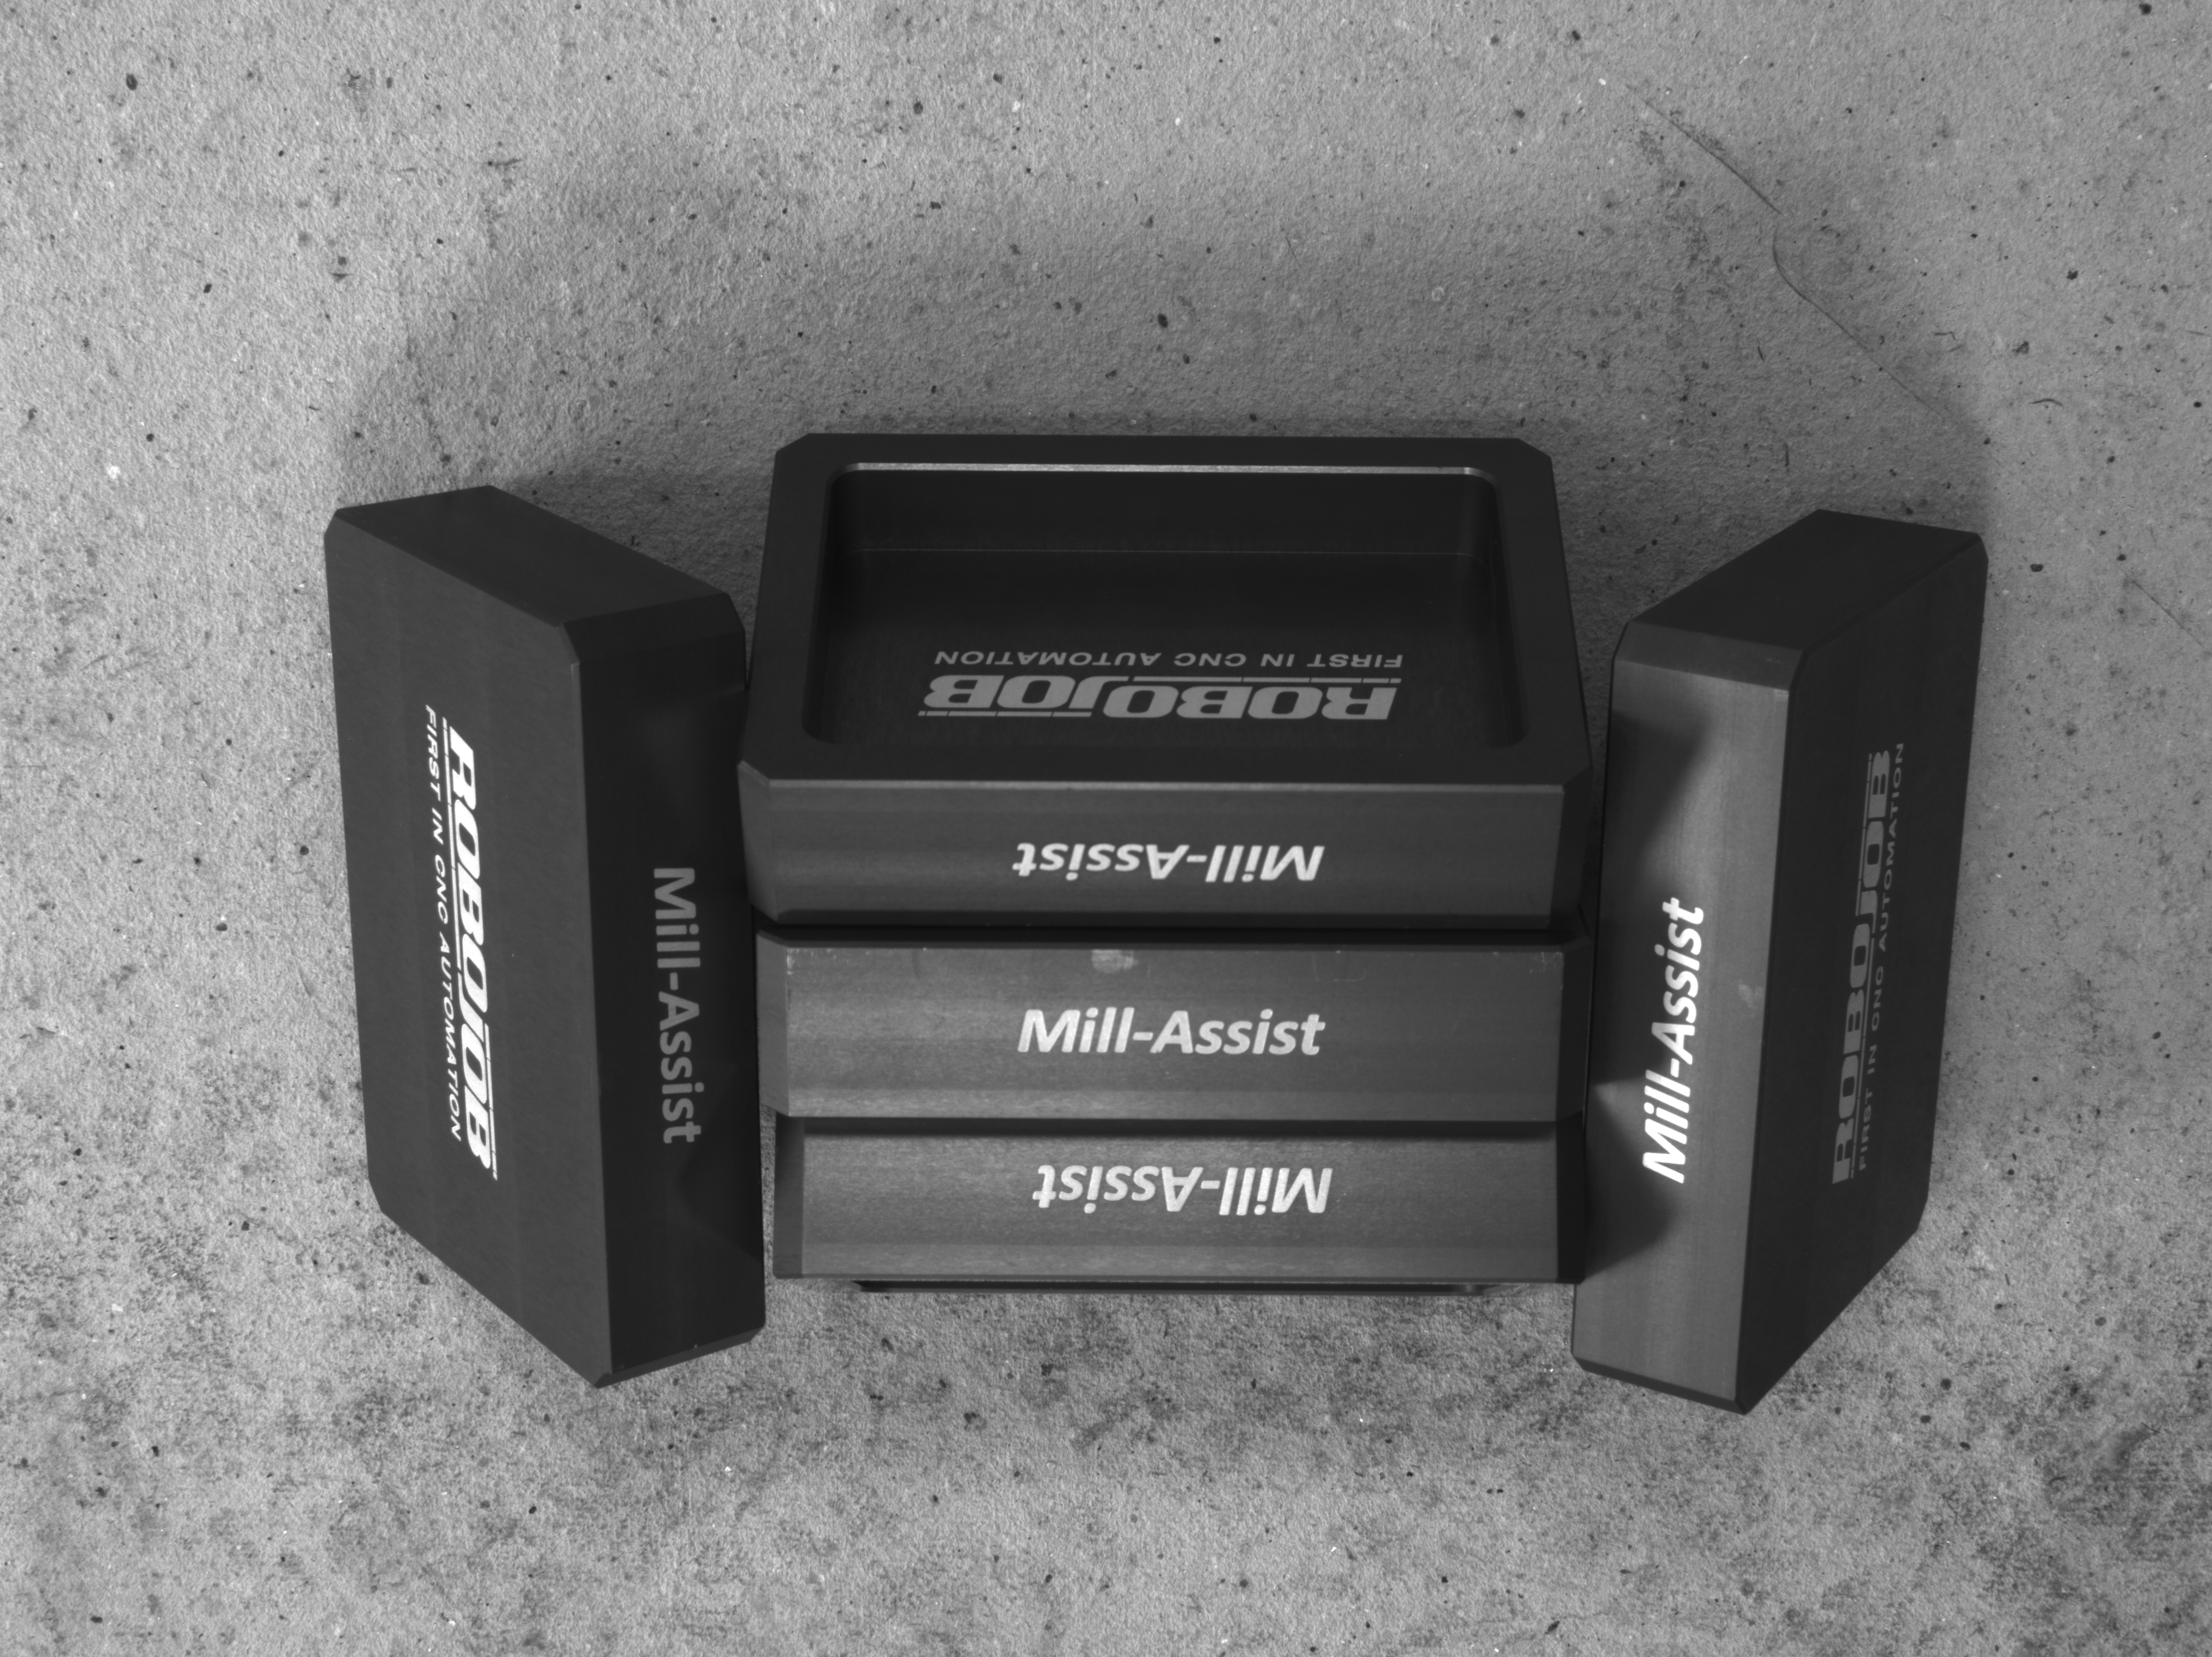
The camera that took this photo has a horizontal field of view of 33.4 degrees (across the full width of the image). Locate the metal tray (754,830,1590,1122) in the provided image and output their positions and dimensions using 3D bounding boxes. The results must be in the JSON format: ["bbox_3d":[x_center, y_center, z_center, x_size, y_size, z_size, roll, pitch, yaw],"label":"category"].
[{"bbox_3d":[0.010,0.017,0.615,0.130,0.090,0.030,0,110,0],"label":"metal tray"}]

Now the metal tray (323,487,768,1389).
[{"bbox_3d":[-0.094,0.016,0.616,0.030,0.090,0.130,-14,114,-34],"label":"metal tray"}]

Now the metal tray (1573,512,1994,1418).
[{"bbox_3d":[0.114,0.021,0.616,0.030,0.090,0.130,13,113,29],"label":"metal tray"}]

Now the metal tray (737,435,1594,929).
[{"bbox_3d":[0.009,-0.025,0.598,0.130,0.090,0.030,0,132,0],"label":"metal tray"}]

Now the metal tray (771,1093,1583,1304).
[{"bbox_3d":[0.012,0.064,0.632,0.130,0.090,0.030,1,81,0],"label":"metal tray"}]
